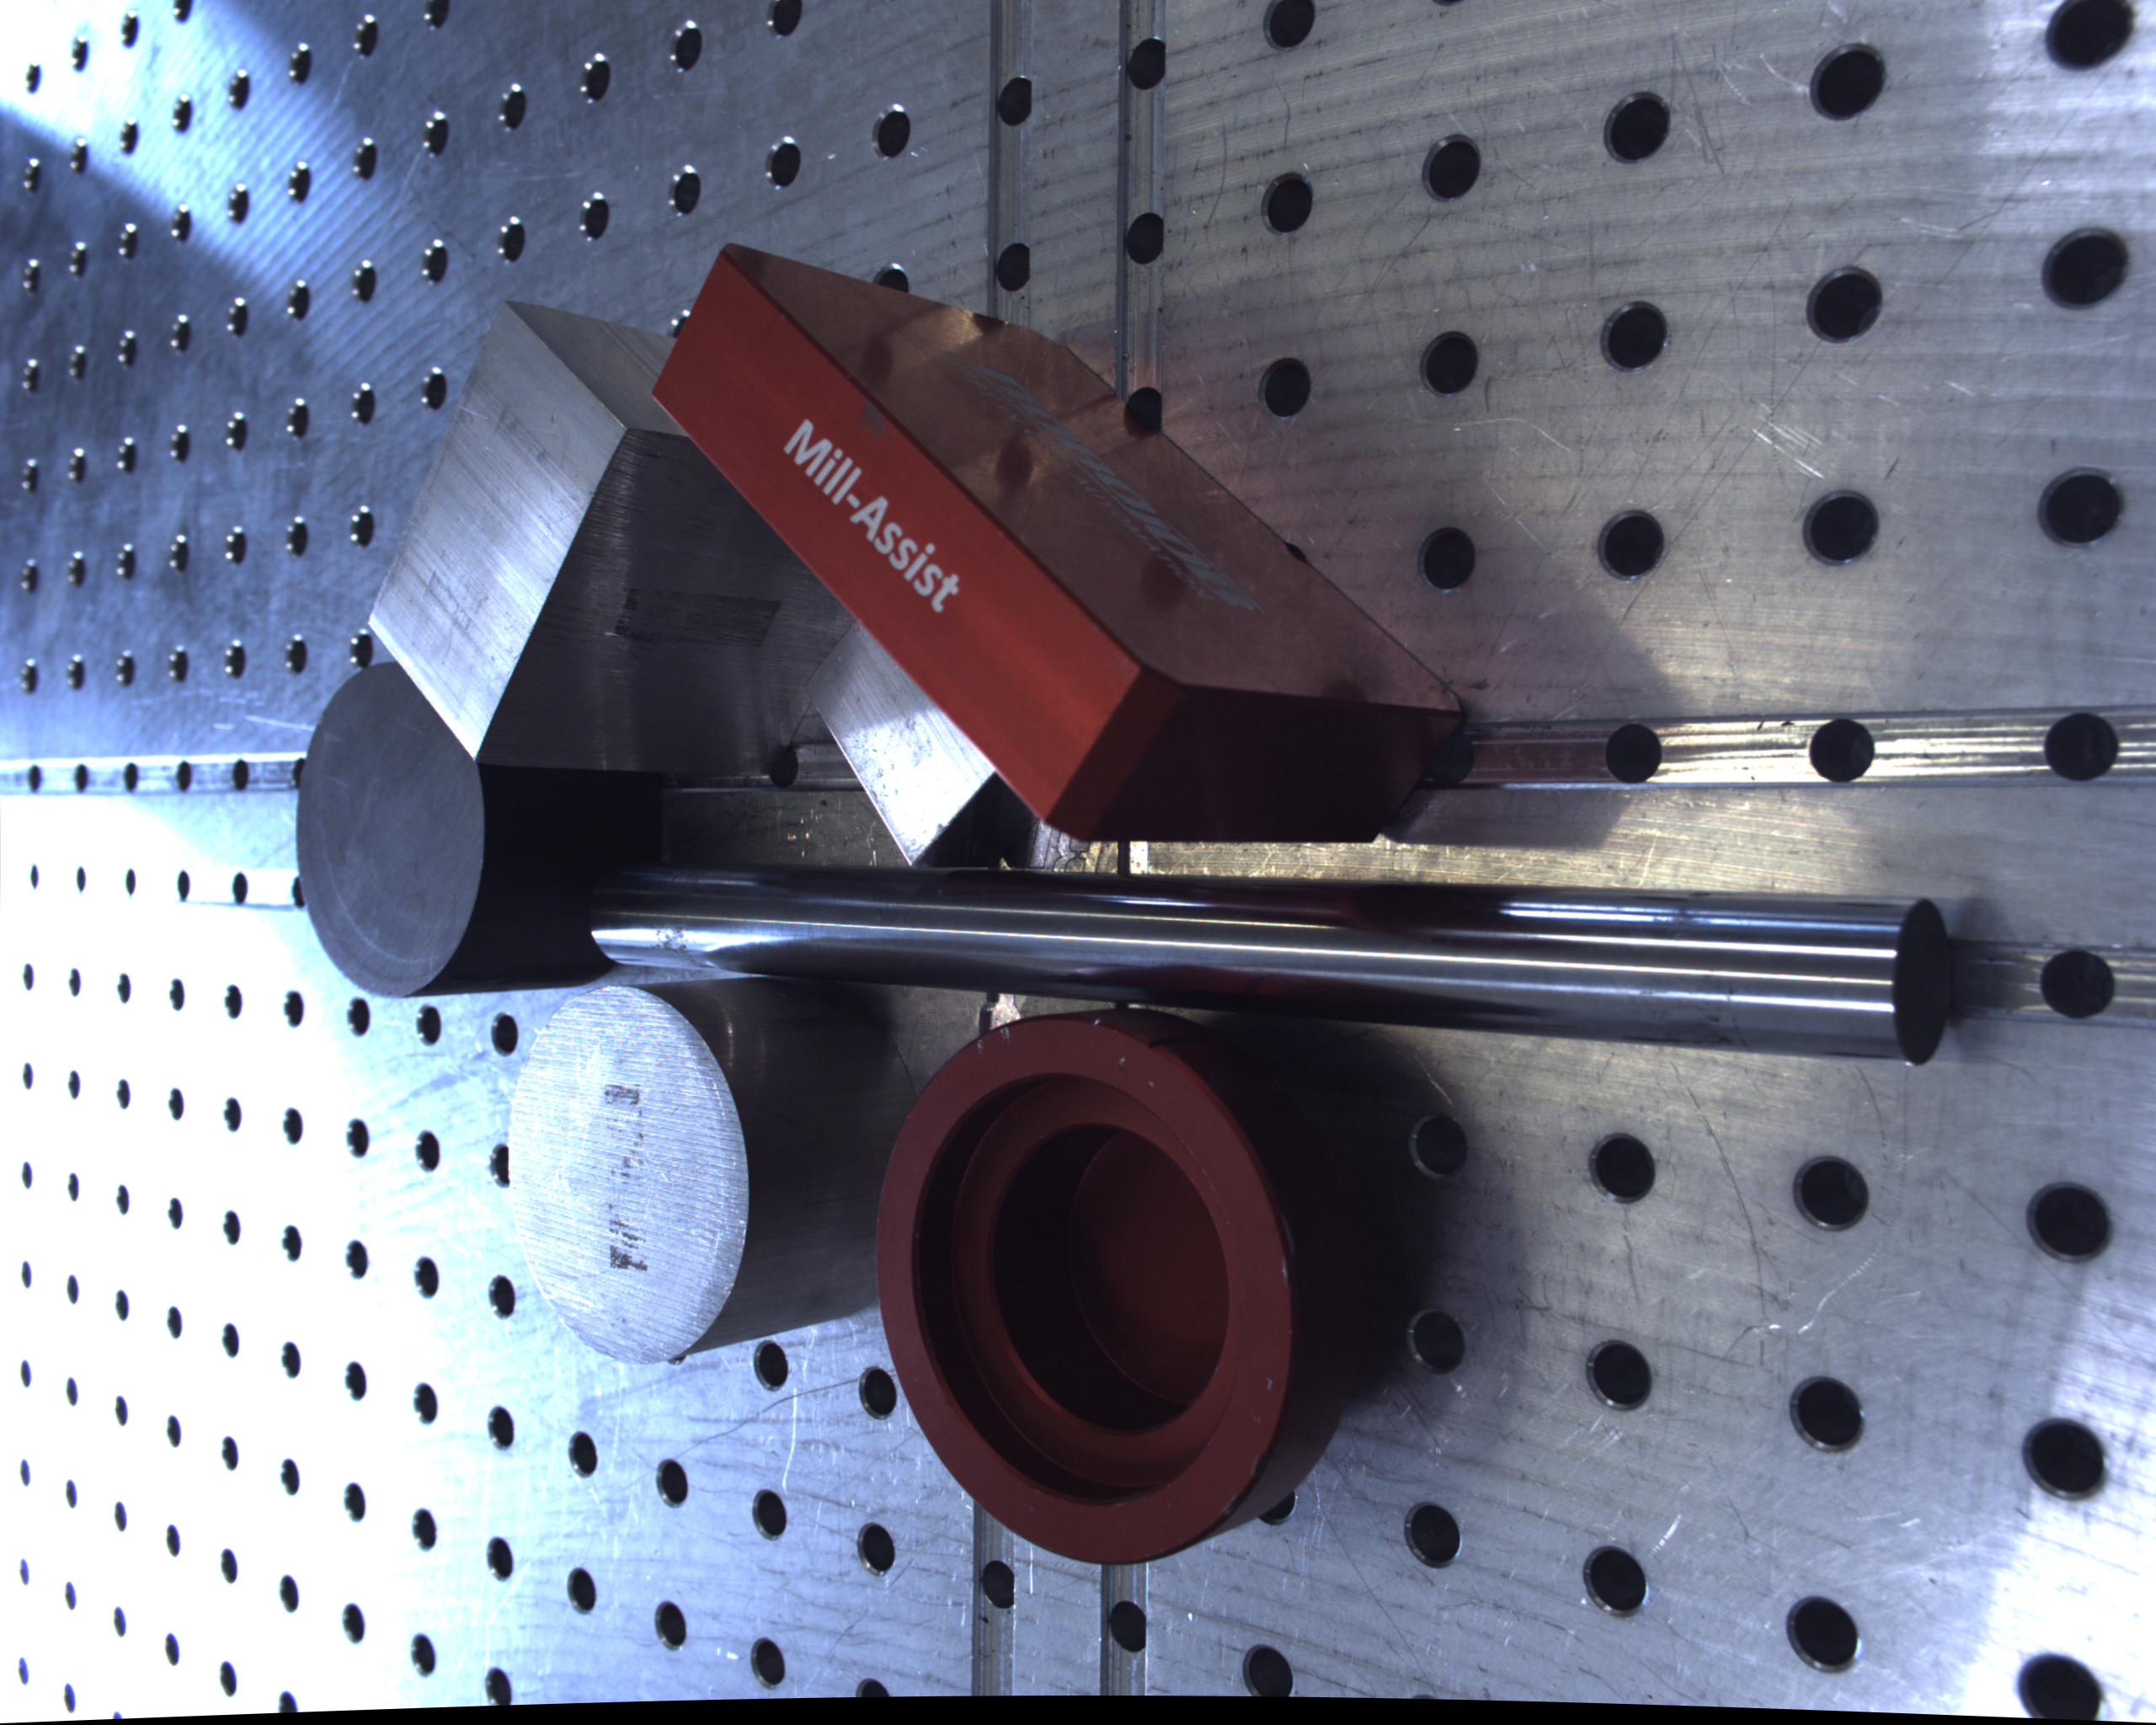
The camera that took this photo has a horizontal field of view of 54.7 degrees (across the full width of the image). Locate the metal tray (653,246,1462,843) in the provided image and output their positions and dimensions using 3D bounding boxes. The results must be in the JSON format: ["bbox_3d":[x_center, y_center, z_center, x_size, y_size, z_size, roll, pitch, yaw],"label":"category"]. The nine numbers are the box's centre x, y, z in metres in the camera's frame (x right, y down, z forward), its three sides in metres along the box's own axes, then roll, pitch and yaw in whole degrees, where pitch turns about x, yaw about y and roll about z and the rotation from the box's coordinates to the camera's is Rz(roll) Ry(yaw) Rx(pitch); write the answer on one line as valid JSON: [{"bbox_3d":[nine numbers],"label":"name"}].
[{"bbox_3d":[-0.004,-0.056,0.370,0.130,0.091,0.030,48,119,29],"label":"metal tray"}]

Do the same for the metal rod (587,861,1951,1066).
[{"bbox_3d":[0.009,0.015,0.402,0.300,0.025,0.025,1,91,40],"label":"metal rod"}]

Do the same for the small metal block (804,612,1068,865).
[{"bbox_3d":[-0.023,-0.035,0.429,0.050,0.025,0.050,-46,63,30],"label":"small metal block"}]

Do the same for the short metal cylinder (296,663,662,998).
[{"bbox_3d":[-0.149,-0.008,0.515,0.080,0.050,0.080,0,90,40],"label":"short metal cylinder"}]

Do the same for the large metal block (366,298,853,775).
[{"bbox_3d":[-0.093,-0.066,0.451,0.050,0.081,0.080,46,117,29],"label":"large metal block"}]

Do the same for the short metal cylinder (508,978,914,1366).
[{"bbox_3d":[-0.080,0.066,0.459,0.080,0.050,0.080,0,90,40],"label":"short metal cylinder"}]

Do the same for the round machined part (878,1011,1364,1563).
[{"bbox_3d":[0.012,0.075,0.389,0.098,0.042,0.097,0,90,40],"label":"round machined part"}]
